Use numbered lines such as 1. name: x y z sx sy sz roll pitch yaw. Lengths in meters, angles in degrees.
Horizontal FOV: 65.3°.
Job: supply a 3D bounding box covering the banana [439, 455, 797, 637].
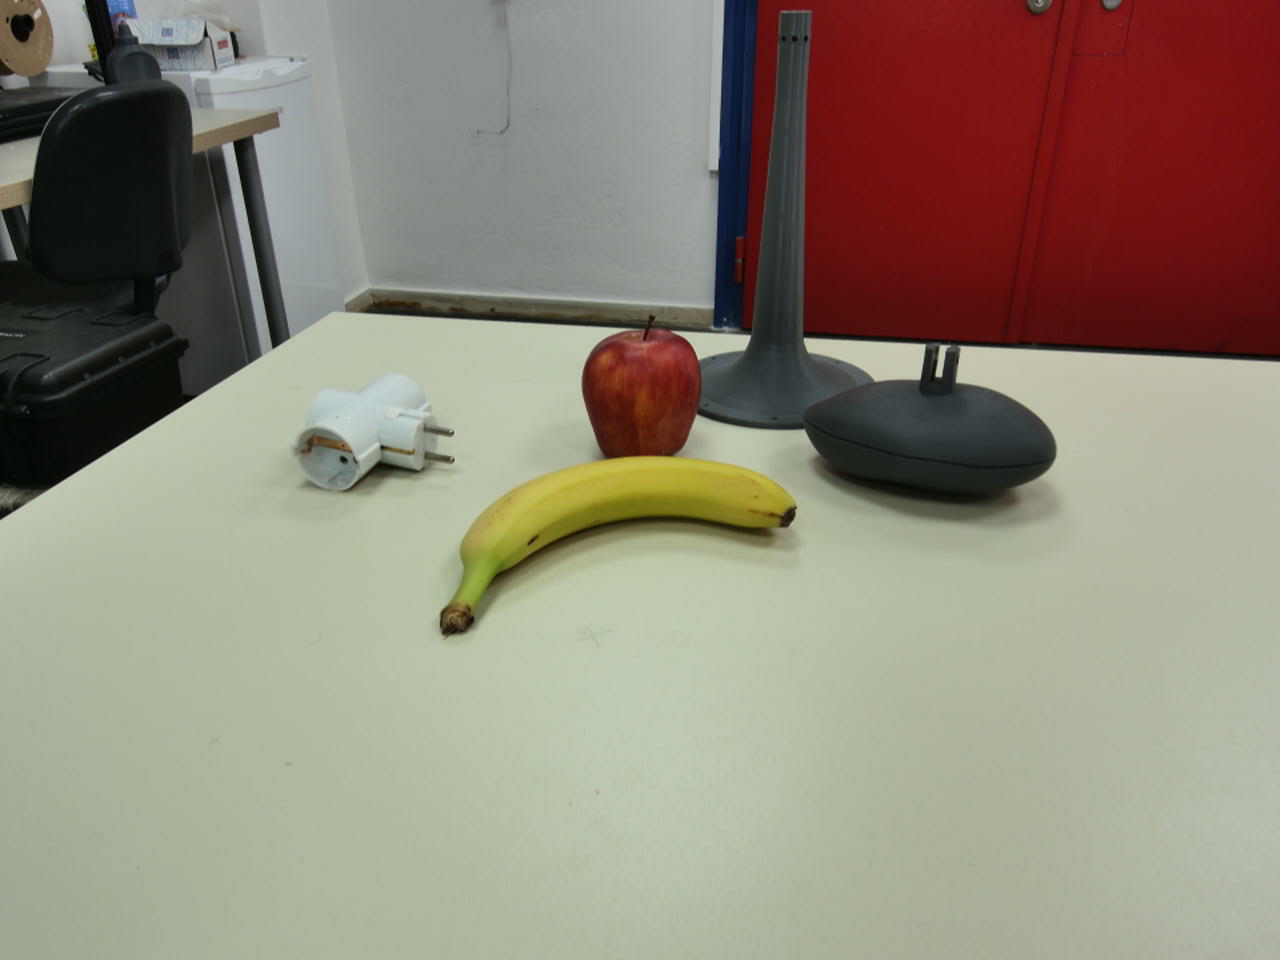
1. banana: -0.020 0.020 0.533 0.196 0.041 0.094 -11 27 -21
